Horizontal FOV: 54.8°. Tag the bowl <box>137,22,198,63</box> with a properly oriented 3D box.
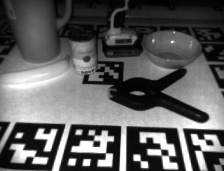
[{"bbox_3d":[0.147,-0.113,0.597,0.161,0.055,0.161,0,45,1],"label":"bowl"}]

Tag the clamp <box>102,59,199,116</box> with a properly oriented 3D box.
[{"bbox_3d":[0.077,-0.003,0.488,0.203,0.037,0.164,1,48,1],"label":"clamp"}]

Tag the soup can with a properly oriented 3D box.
[{"bbox_3d":[-0.082,-0.108,0.562,0.068,0.102,0.067,0,36,1],"label":"soup can"}]

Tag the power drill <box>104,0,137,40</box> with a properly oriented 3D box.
[{"bbox_3d":[0.041,-0.217,0.584,0.185,0.188,0.057,-2,44,-1],"label":"power drill"}]

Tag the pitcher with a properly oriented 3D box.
[{"bbox_3d":[-0.200,-0.207,0.562,0.190,0.244,0.132,-15,43,-14],"label":"pitcher"}]

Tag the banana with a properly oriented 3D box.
[{"bbox_3d":[-0.209,-0.054,0.554,0.199,0.039,0.073,-15,37,-17],"label":"banana"}]
